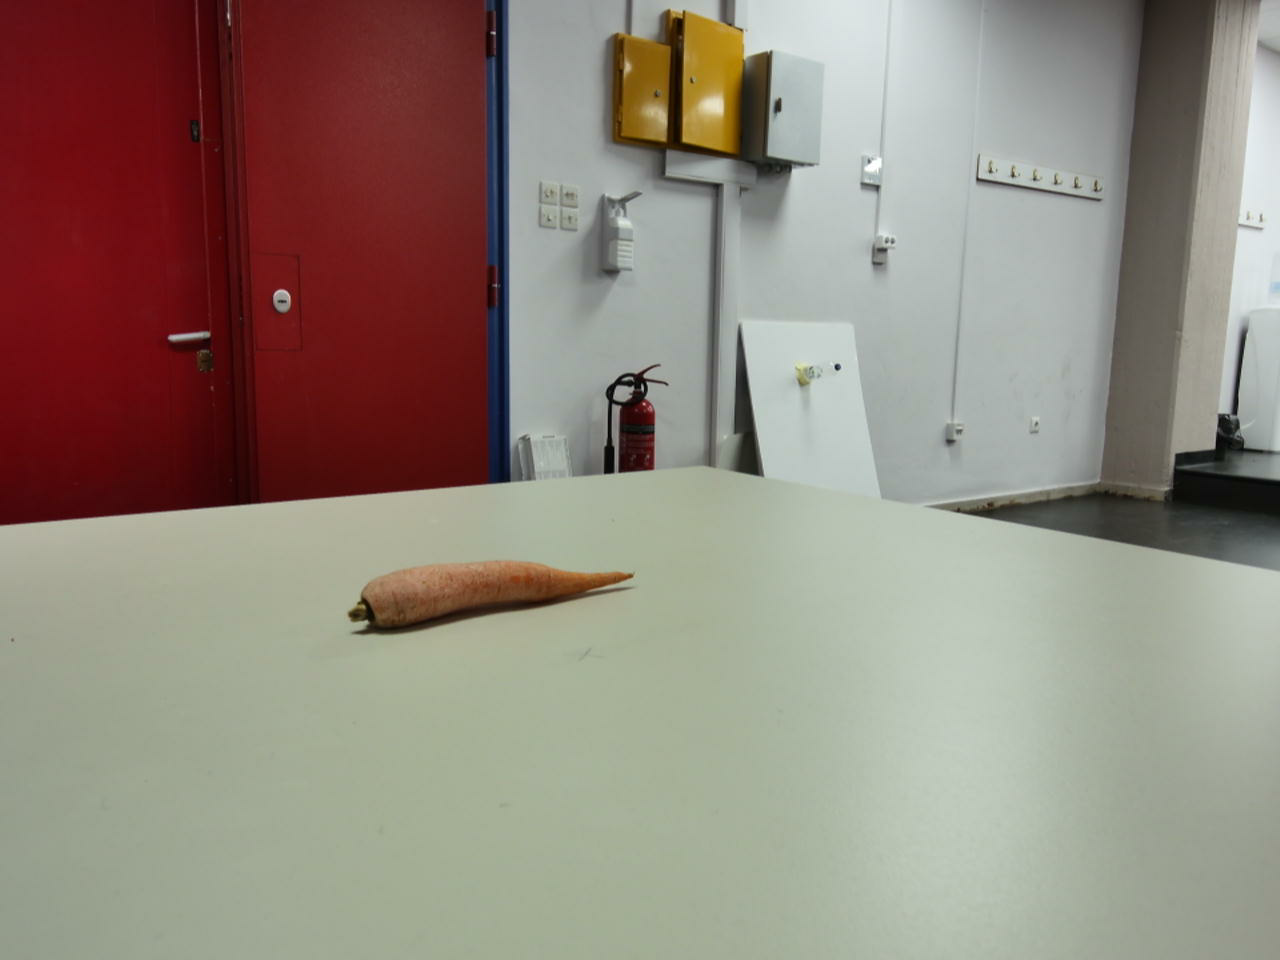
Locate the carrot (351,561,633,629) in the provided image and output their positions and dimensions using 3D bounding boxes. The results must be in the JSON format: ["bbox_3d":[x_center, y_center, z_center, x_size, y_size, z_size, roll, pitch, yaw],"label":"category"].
[{"bbox_3d":[-0.075,0.056,0.539,0.163,0.029,0.031,-5,8,-36],"label":"carrot"}]
